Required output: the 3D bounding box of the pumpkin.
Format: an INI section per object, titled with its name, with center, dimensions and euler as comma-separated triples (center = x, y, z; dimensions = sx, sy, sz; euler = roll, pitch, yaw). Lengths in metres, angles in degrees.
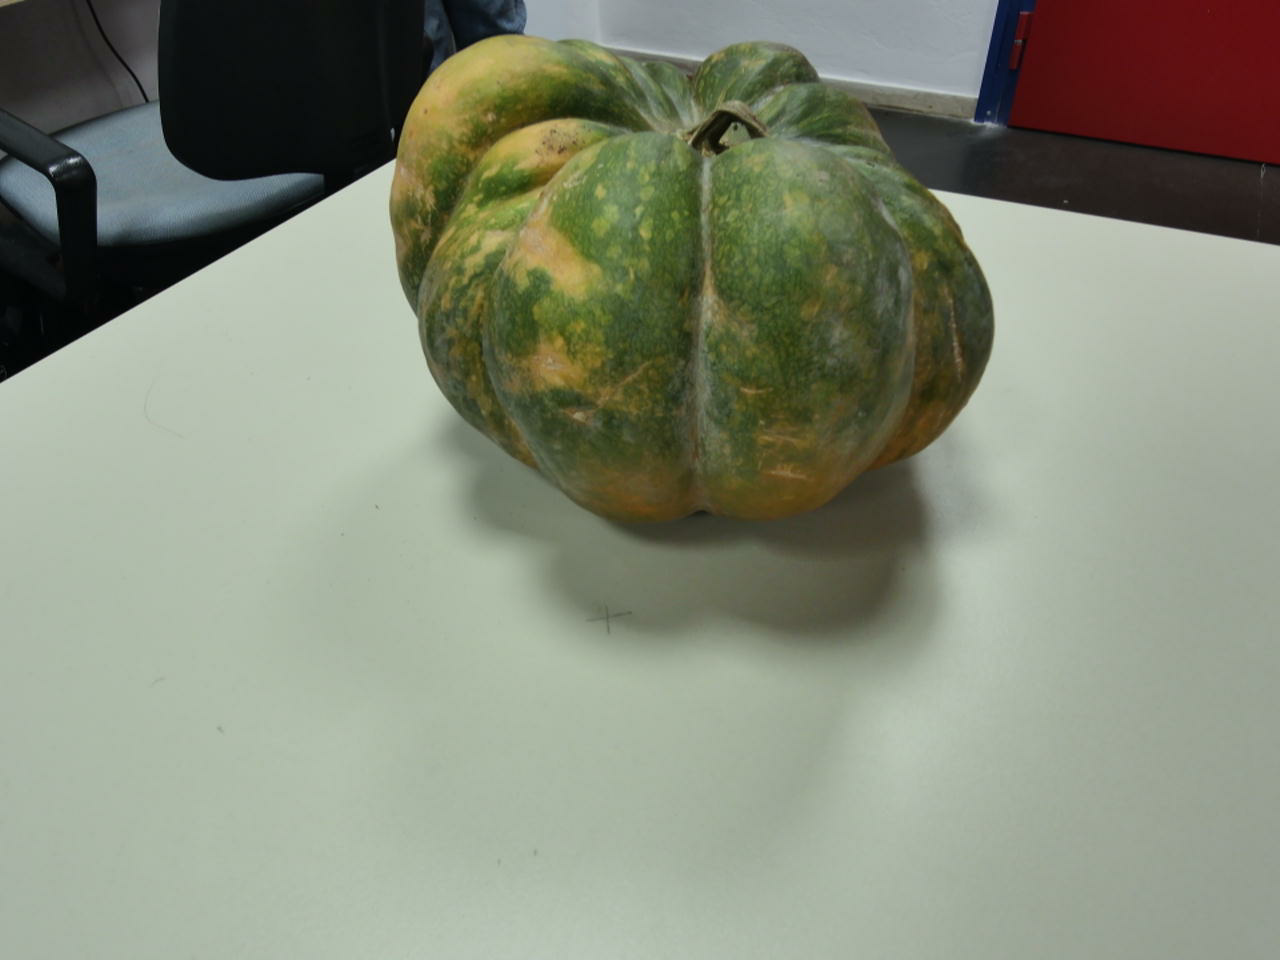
[pumpkin]
center = 0.021, -0.094, 0.429
dimensions = 0.237, 0.173, 0.270
euler = -17, 41, -20
